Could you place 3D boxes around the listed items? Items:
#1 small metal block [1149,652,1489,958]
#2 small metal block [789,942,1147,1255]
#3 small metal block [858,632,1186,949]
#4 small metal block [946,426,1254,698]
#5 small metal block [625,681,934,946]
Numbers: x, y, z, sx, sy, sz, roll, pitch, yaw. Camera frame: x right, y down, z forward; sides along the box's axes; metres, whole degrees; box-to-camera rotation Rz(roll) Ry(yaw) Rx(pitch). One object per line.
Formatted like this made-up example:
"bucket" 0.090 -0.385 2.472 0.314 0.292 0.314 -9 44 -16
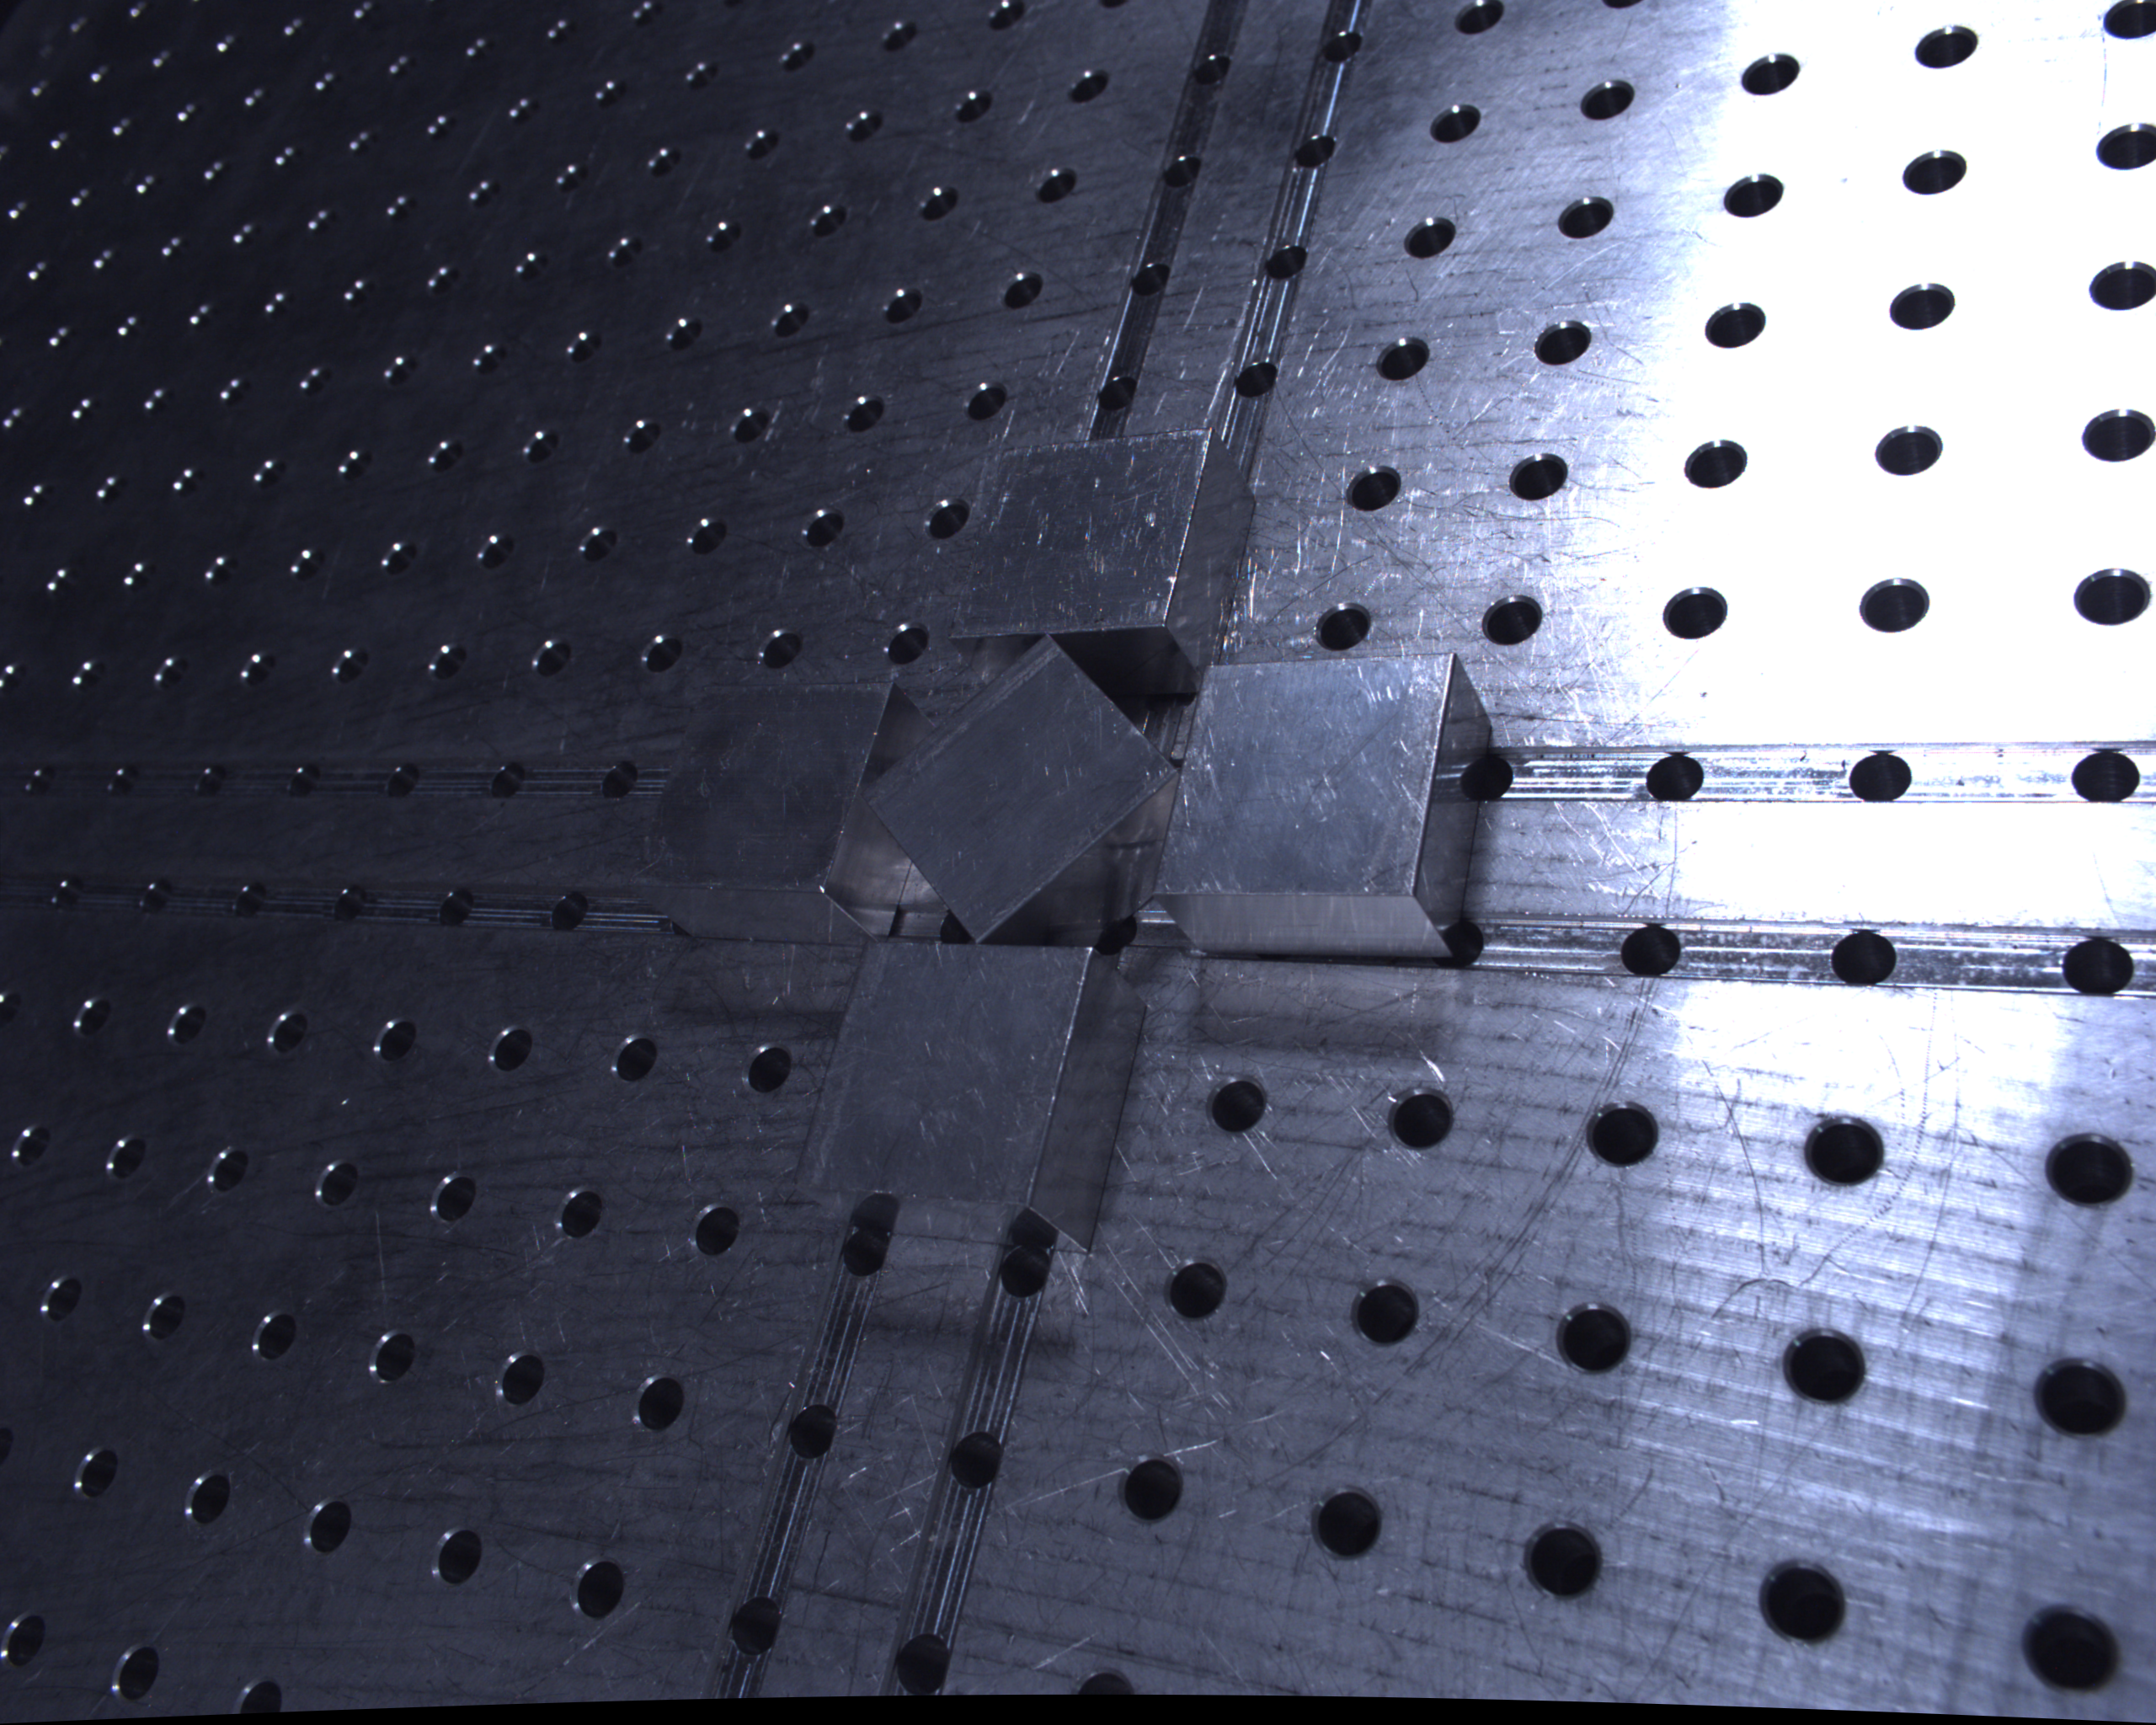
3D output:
"small metal block" 0.046 -0.010 0.389 0.050 0.025 0.050 0 62 27
"small metal block" -0.020 0.043 0.391 0.050 0.025 0.050 1 62 28
"small metal block" -0.008 -0.010 0.417 0.050 0.025 0.050 -41 51 0
"small metal block" 0.005 -0.062 0.442 0.050 0.025 0.050 0 61 27
"small metal block" -0.061 -0.011 0.445 0.050 0.025 0.050 2 62 28
